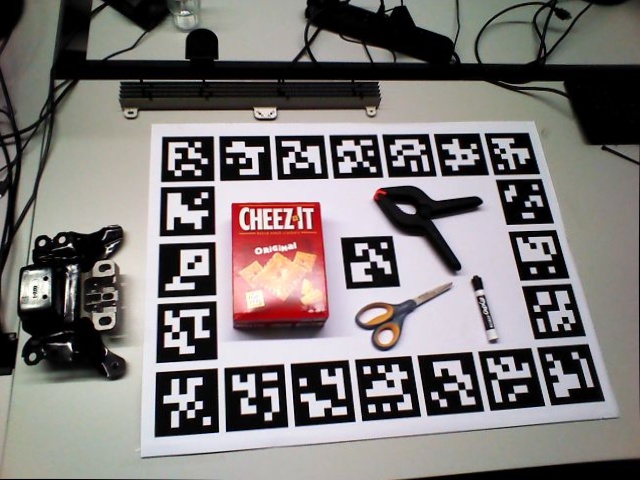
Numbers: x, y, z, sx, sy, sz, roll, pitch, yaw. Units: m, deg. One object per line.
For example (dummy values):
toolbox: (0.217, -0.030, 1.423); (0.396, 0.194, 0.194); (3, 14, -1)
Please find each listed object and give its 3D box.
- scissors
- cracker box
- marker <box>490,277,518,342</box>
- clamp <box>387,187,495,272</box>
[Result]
scissors: (0.192, 0.126, 0.925); (0.202, 0.016, 0.087); (-30, 72, -20)
cracker box: (-0.043, 0.049, 0.903); (0.164, 0.072, 0.212); (-1, 67, -7)
marker: (0.334, 0.125, 0.940); (0.019, 0.020, 0.120); (-5, 67, -9)
clamp: (0.225, -0.046, 1.007); (0.203, 0.037, 0.164); (26, 65, 4)
